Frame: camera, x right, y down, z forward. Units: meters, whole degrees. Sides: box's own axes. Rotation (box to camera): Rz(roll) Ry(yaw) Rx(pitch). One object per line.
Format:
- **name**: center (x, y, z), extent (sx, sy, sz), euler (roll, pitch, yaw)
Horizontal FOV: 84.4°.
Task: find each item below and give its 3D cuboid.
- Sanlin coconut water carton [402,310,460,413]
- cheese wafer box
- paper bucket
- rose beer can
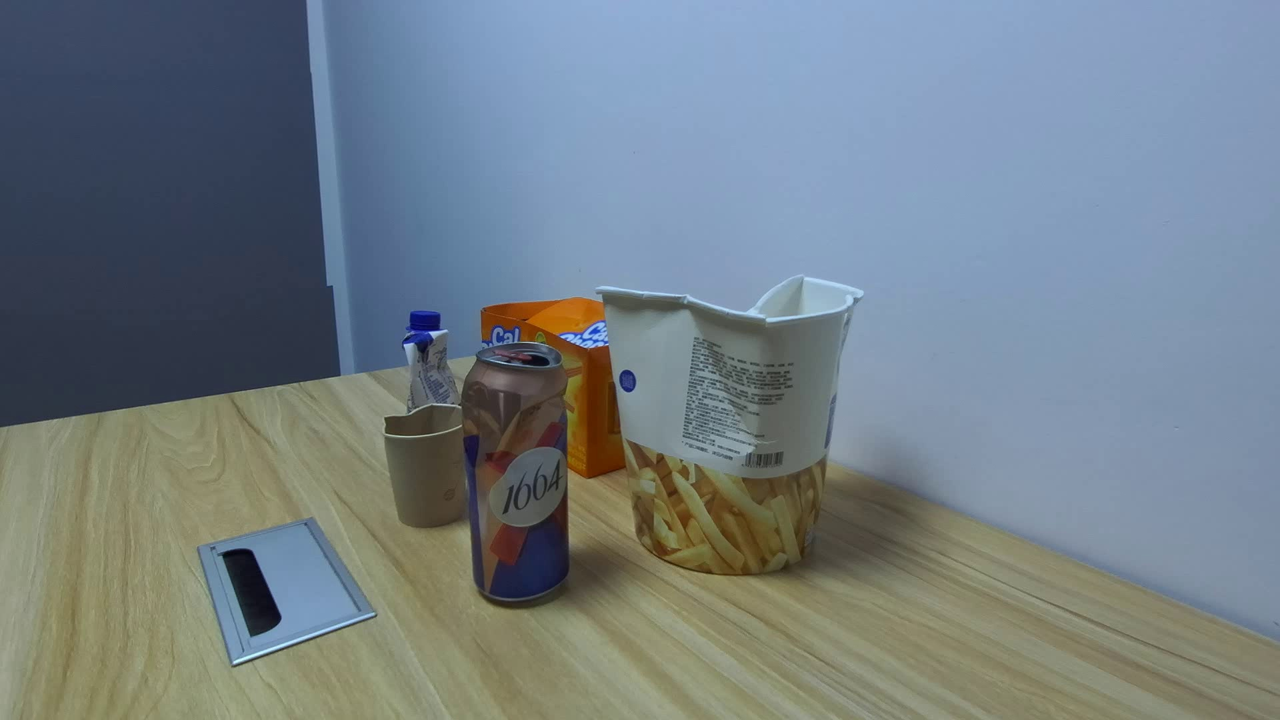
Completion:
- **Sanlin coconut water carton**: center (-0.212, 0.026, 0.691), extent (0.056, 0.145, 0.068), euler (0, 21, 24)
- **cheese wafer box**: center (-0.065, 0.017, 0.763), extent (0.153, 0.132, 0.229), euler (-12, 21, -38)
- **paper bucket**: center (0.077, 0.039, 0.550), extent (0.168, 0.202, 0.163), euler (18, 22, 40)
- **rose beer can**: center (-0.079, 0.076, 0.470), extent (0.065, 0.167, 0.076), euler (17, 20, 40)
